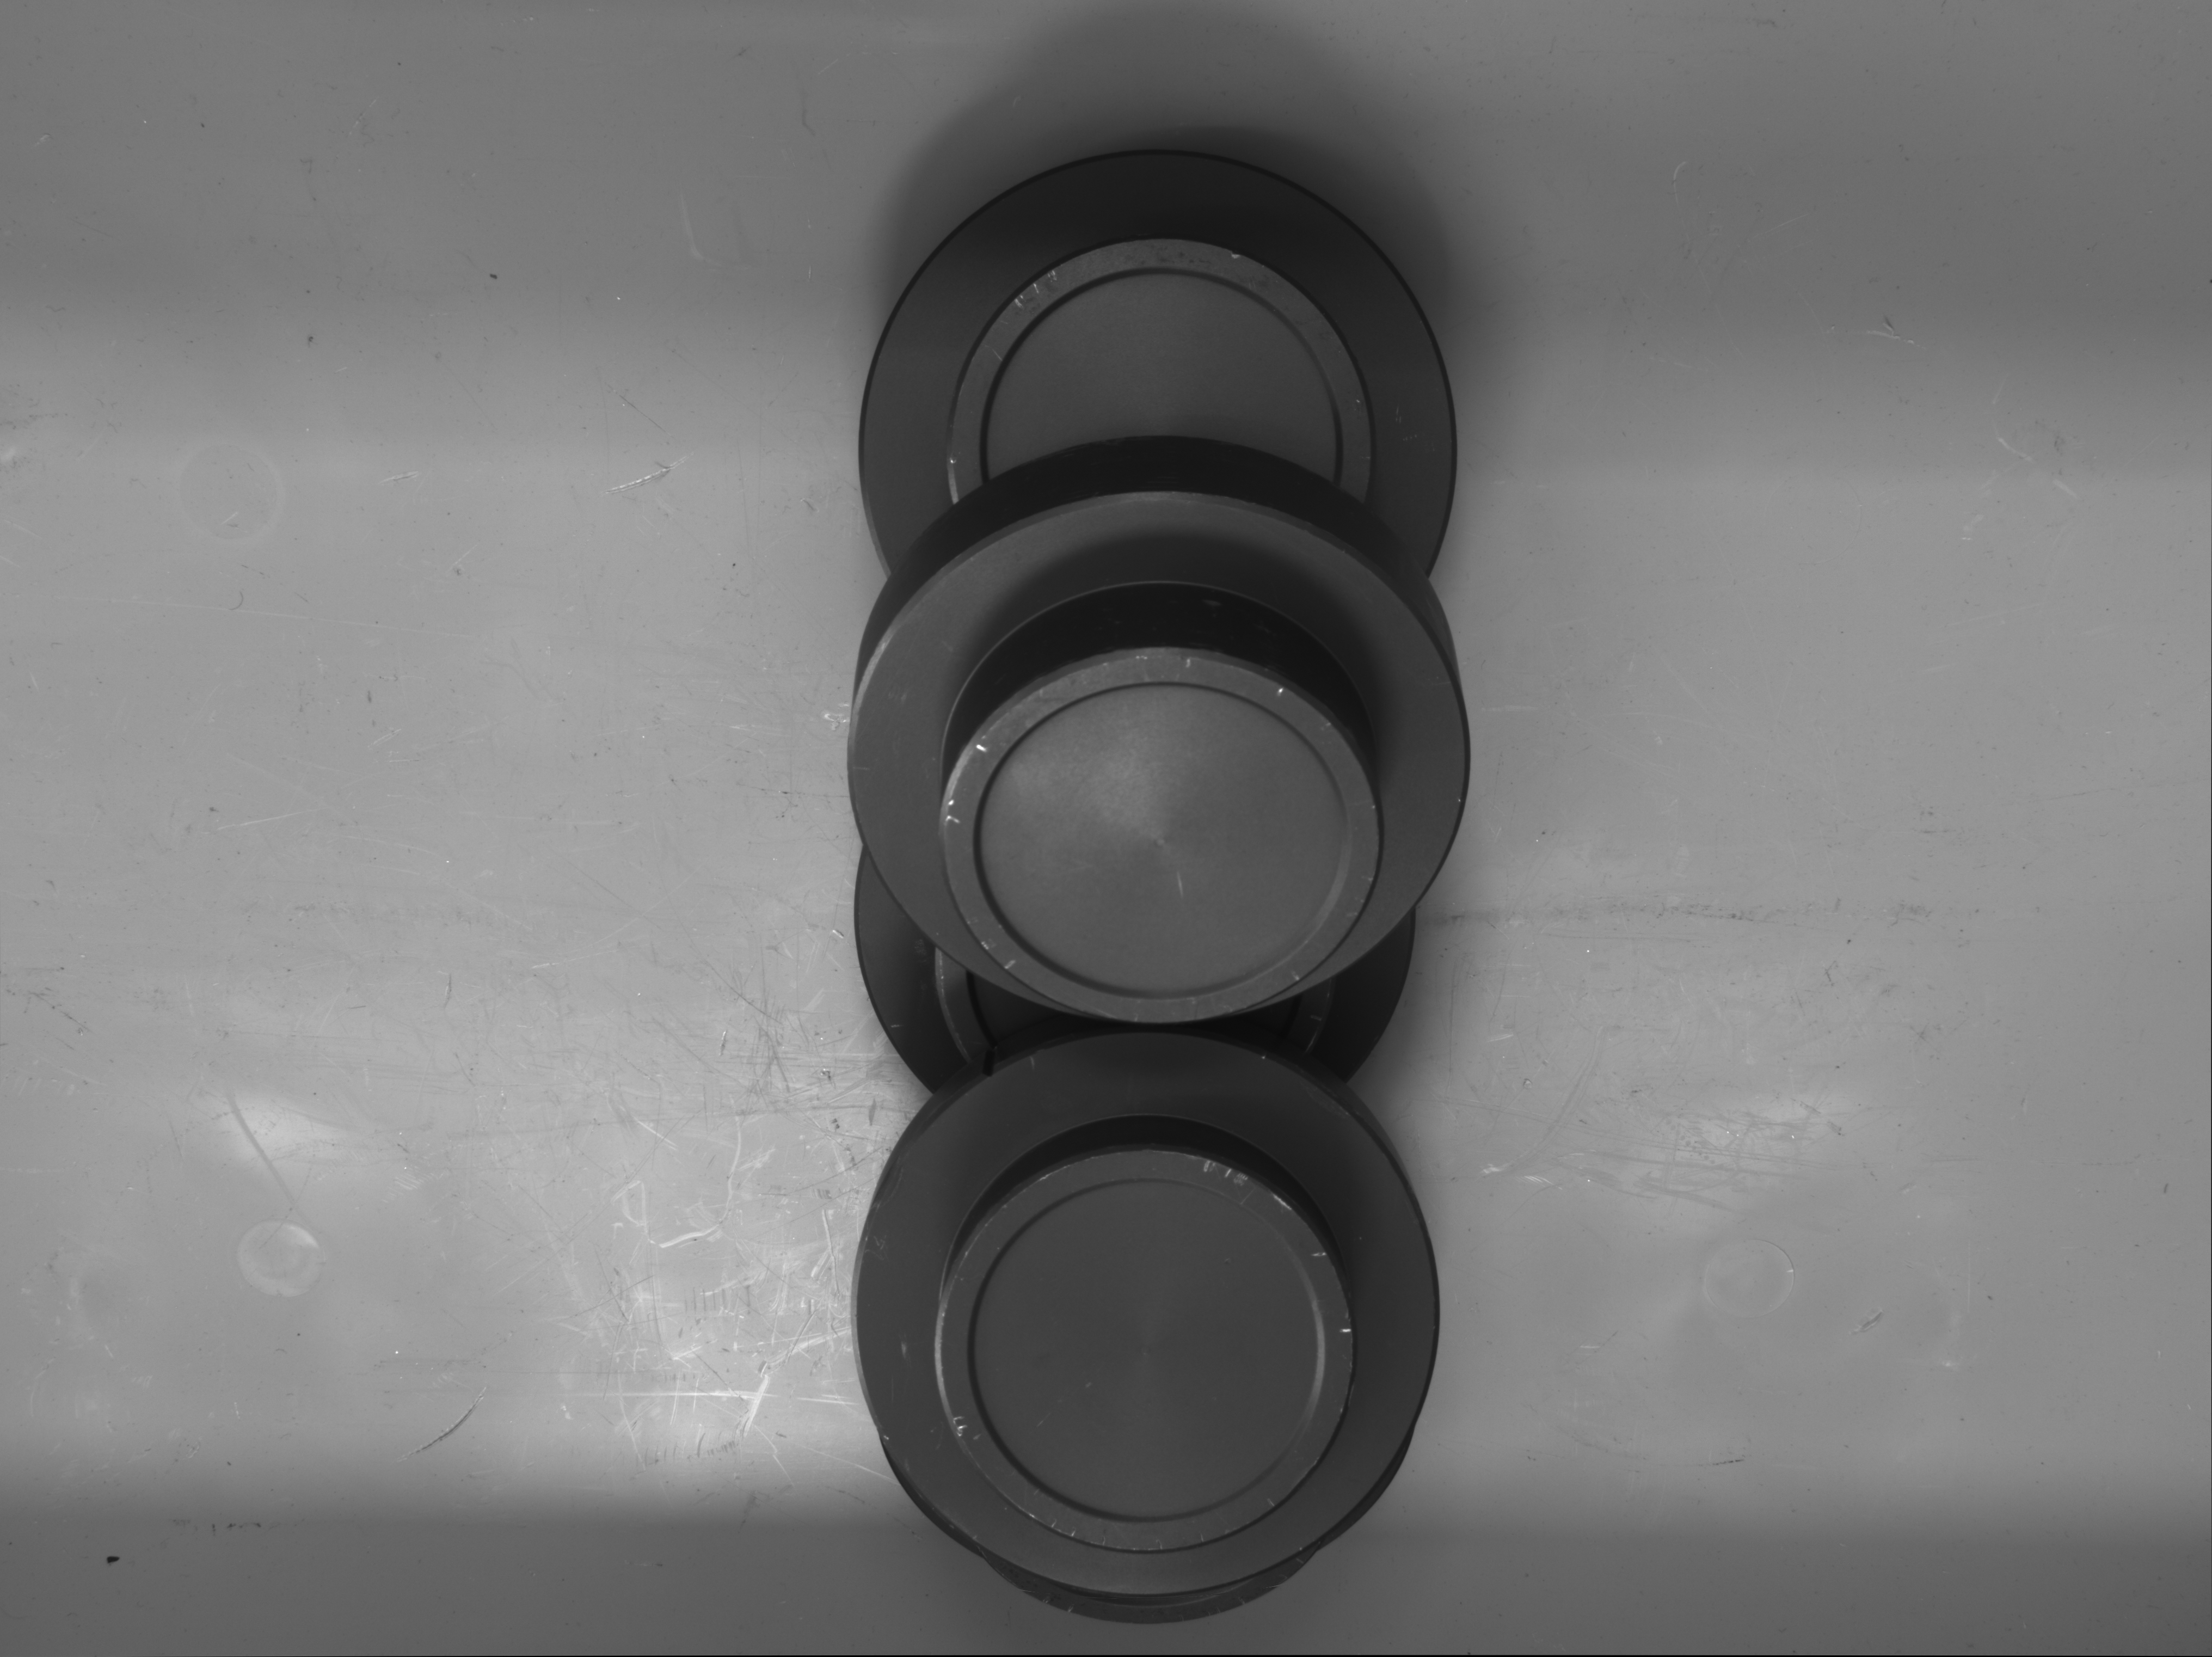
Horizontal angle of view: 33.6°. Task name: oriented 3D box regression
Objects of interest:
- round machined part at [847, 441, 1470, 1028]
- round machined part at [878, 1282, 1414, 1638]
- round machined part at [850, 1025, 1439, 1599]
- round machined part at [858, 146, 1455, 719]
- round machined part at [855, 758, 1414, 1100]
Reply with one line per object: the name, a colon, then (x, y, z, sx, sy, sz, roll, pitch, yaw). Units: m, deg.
round machined part: (0.008, -0.008, 0.576, 0.098, 0.042, 0.098, 0, 122, 0)
round machined part: (0.007, 0.106, 0.658, 0.098, 0.042, 0.098, 0, 125, 0)
round machined part: (0.007, 0.082, 0.609, 0.098, 0.042, 0.098, 0, 99, 0)
round machined part: (0.008, -0.062, 0.599, 0.098, 0.042, 0.098, 0, 94, 0)
round machined part: (0.005, 0.015, 0.639, 0.098, 0.042, 0.098, 0, 109, 0)
